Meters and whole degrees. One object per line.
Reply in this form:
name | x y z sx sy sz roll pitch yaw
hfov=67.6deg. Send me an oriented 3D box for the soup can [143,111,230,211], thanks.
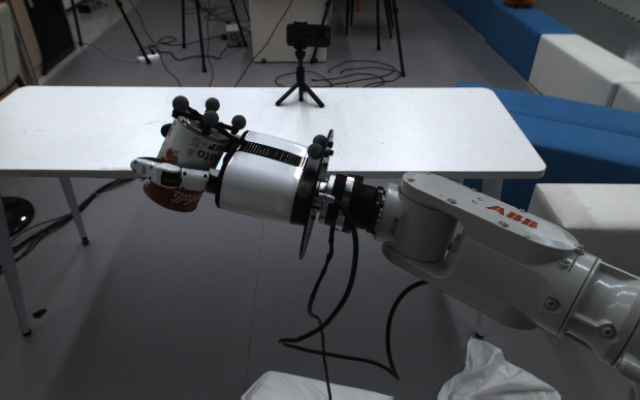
soup can | -0.156 -0.045 0.571 0.067 0.101 0.067 28 18 -10
